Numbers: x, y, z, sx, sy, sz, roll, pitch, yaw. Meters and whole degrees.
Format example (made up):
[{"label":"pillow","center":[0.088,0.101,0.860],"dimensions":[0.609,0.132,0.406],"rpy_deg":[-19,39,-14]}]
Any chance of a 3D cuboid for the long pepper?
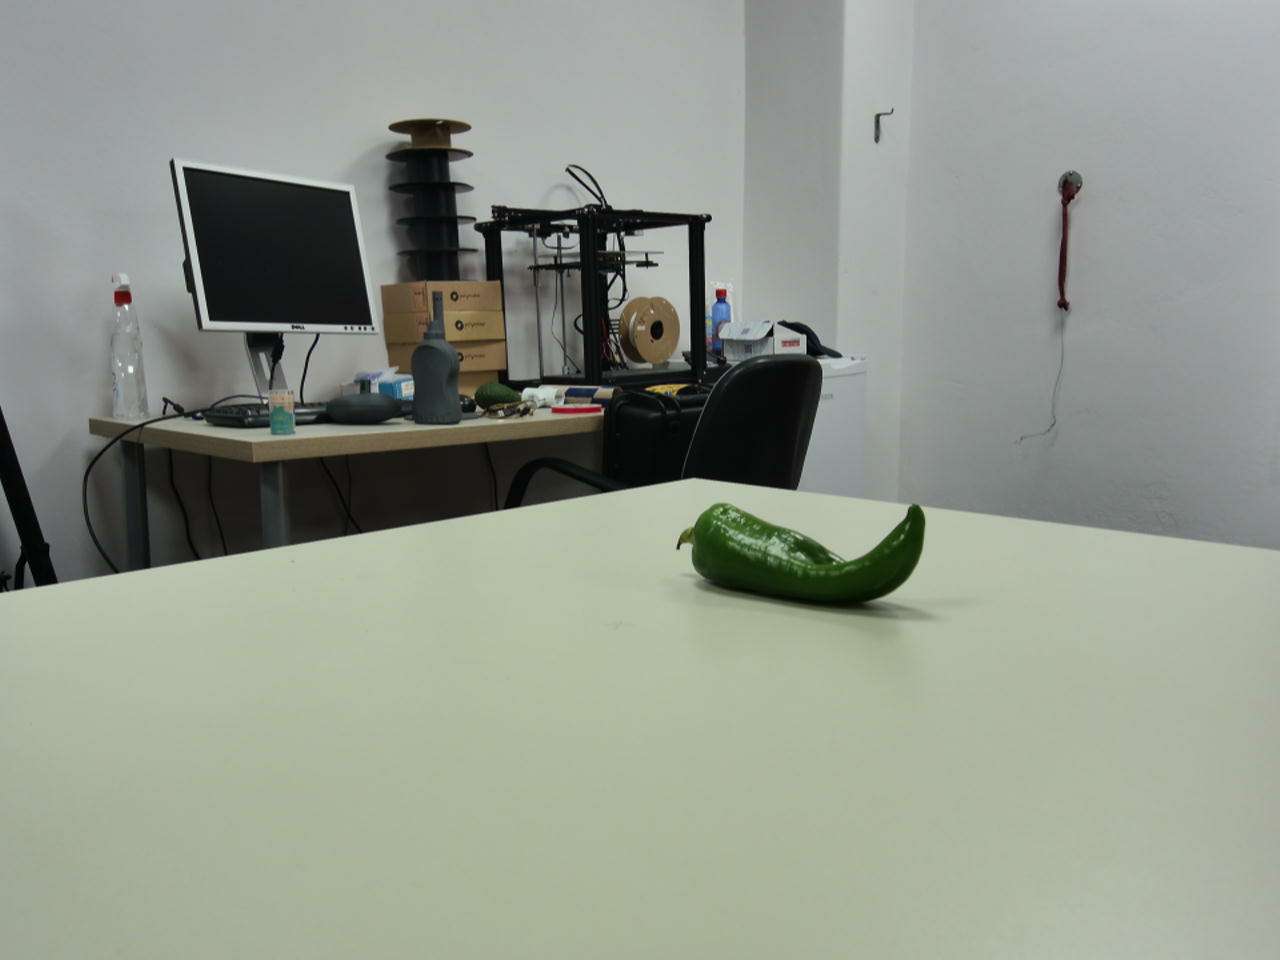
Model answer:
[{"label":"long pepper","center":[0.092,0.039,0.625],"dimensions":[0.058,0.065,0.175],"rpy_deg":[-5,9,-45]}]
